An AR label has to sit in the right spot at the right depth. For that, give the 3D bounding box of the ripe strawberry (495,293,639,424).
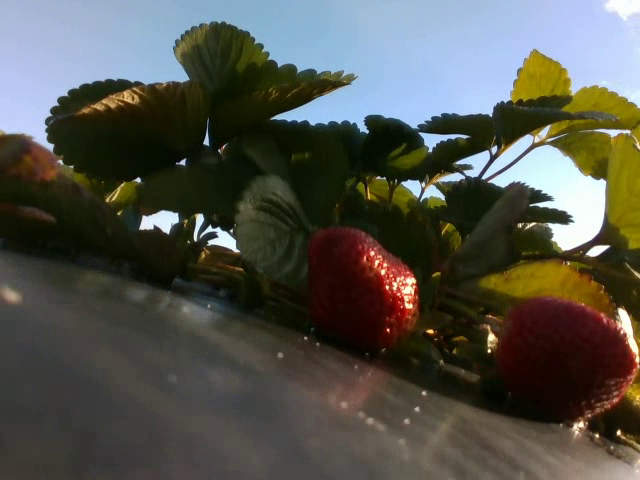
[{"bbox_3d":[0.078,0.031,0.183,0.043,0.039,0.053,38,-23,-2],"label":"ripe strawberry"}]

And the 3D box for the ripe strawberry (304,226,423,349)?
[{"bbox_3d":[0.015,0.017,0.211,0.039,0.054,0.048,-31,33,4],"label":"ripe strawberry"}]
